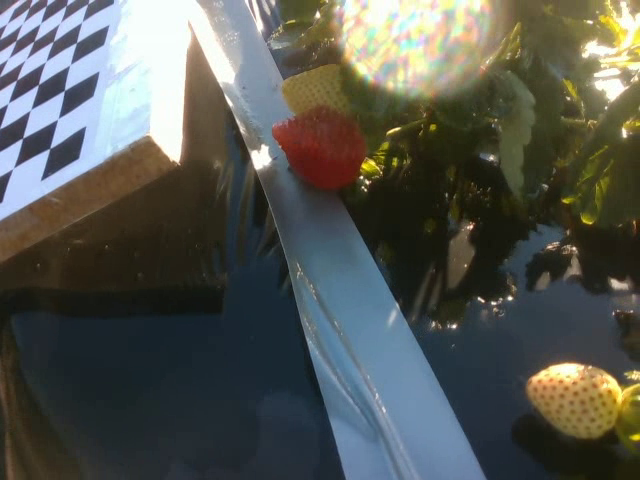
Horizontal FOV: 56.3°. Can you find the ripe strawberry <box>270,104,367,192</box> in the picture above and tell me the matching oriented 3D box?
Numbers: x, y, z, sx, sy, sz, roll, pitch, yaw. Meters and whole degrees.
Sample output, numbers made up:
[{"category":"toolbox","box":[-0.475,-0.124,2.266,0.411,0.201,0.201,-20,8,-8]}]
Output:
[{"category":"ripe strawberry","box":[-0.003,-0.047,0.290,0.045,0.048,0.064,-5,-8,35]}]
